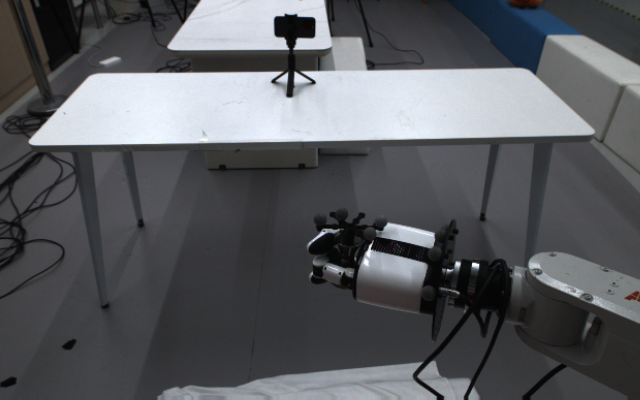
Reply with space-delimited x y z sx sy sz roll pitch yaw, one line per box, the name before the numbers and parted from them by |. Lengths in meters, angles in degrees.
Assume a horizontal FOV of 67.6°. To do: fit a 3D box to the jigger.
jigger | 0.041 0.081 0.664 0.043 0.071 0.043 3 25 -1
